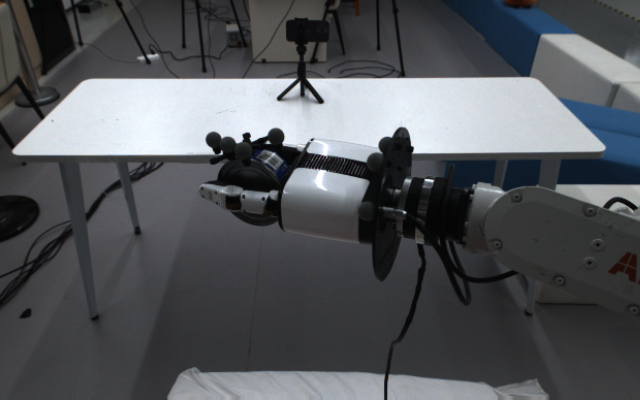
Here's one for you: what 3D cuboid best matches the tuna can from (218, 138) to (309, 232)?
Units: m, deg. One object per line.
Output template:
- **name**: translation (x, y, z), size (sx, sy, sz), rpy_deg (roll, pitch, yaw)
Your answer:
- **tuna can**: translation (-0.068, -0.015, 0.547), size (0.085, 0.085, 0.034), rpy_deg (14, 34, 17)
